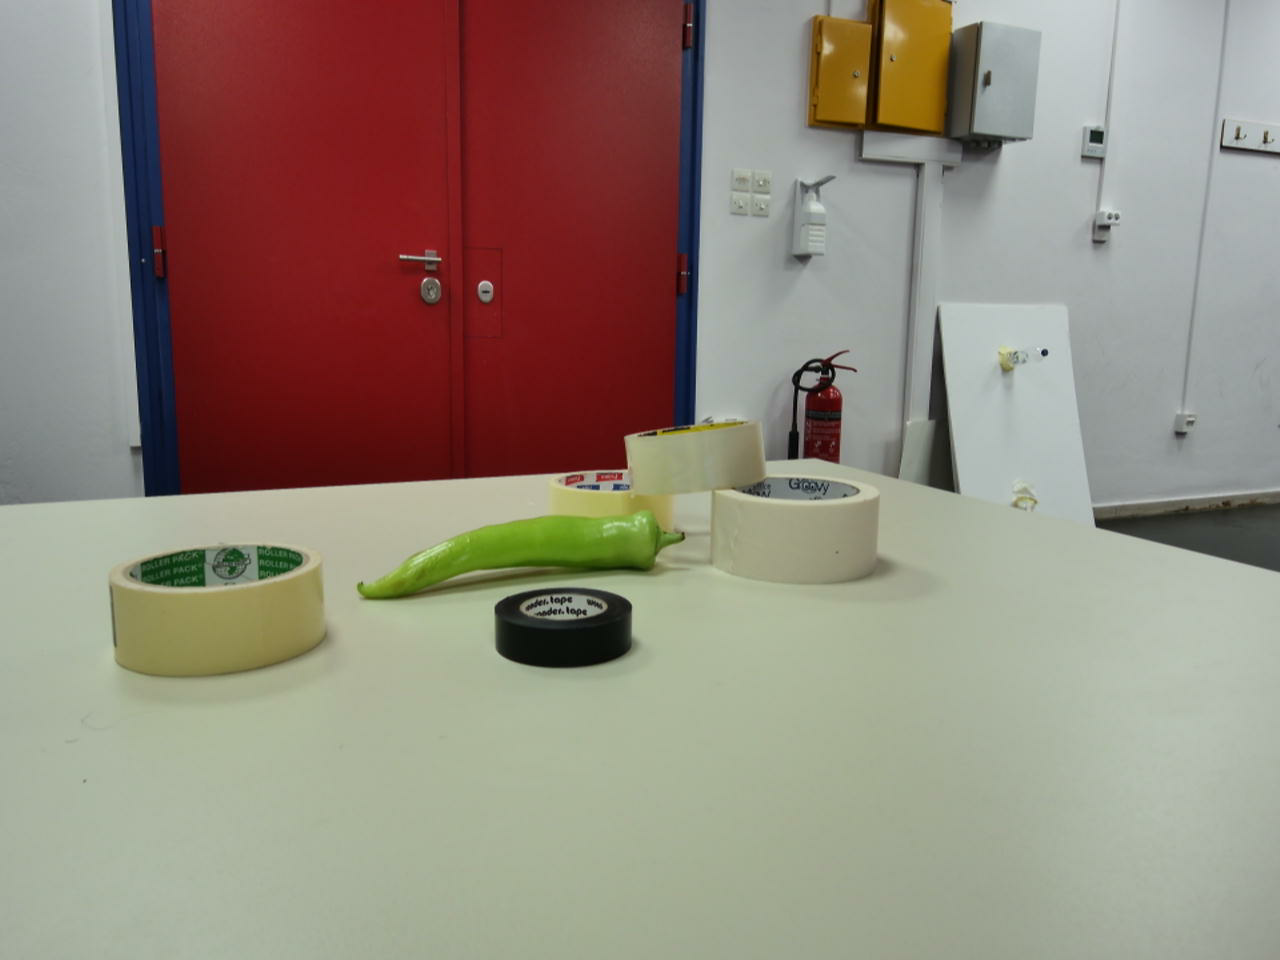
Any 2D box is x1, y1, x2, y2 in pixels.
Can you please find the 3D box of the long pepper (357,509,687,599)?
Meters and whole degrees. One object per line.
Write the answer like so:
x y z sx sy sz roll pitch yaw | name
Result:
-0.068 0.040 0.592 0.197 0.038 0.047 -3 8 -22 | long pepper
